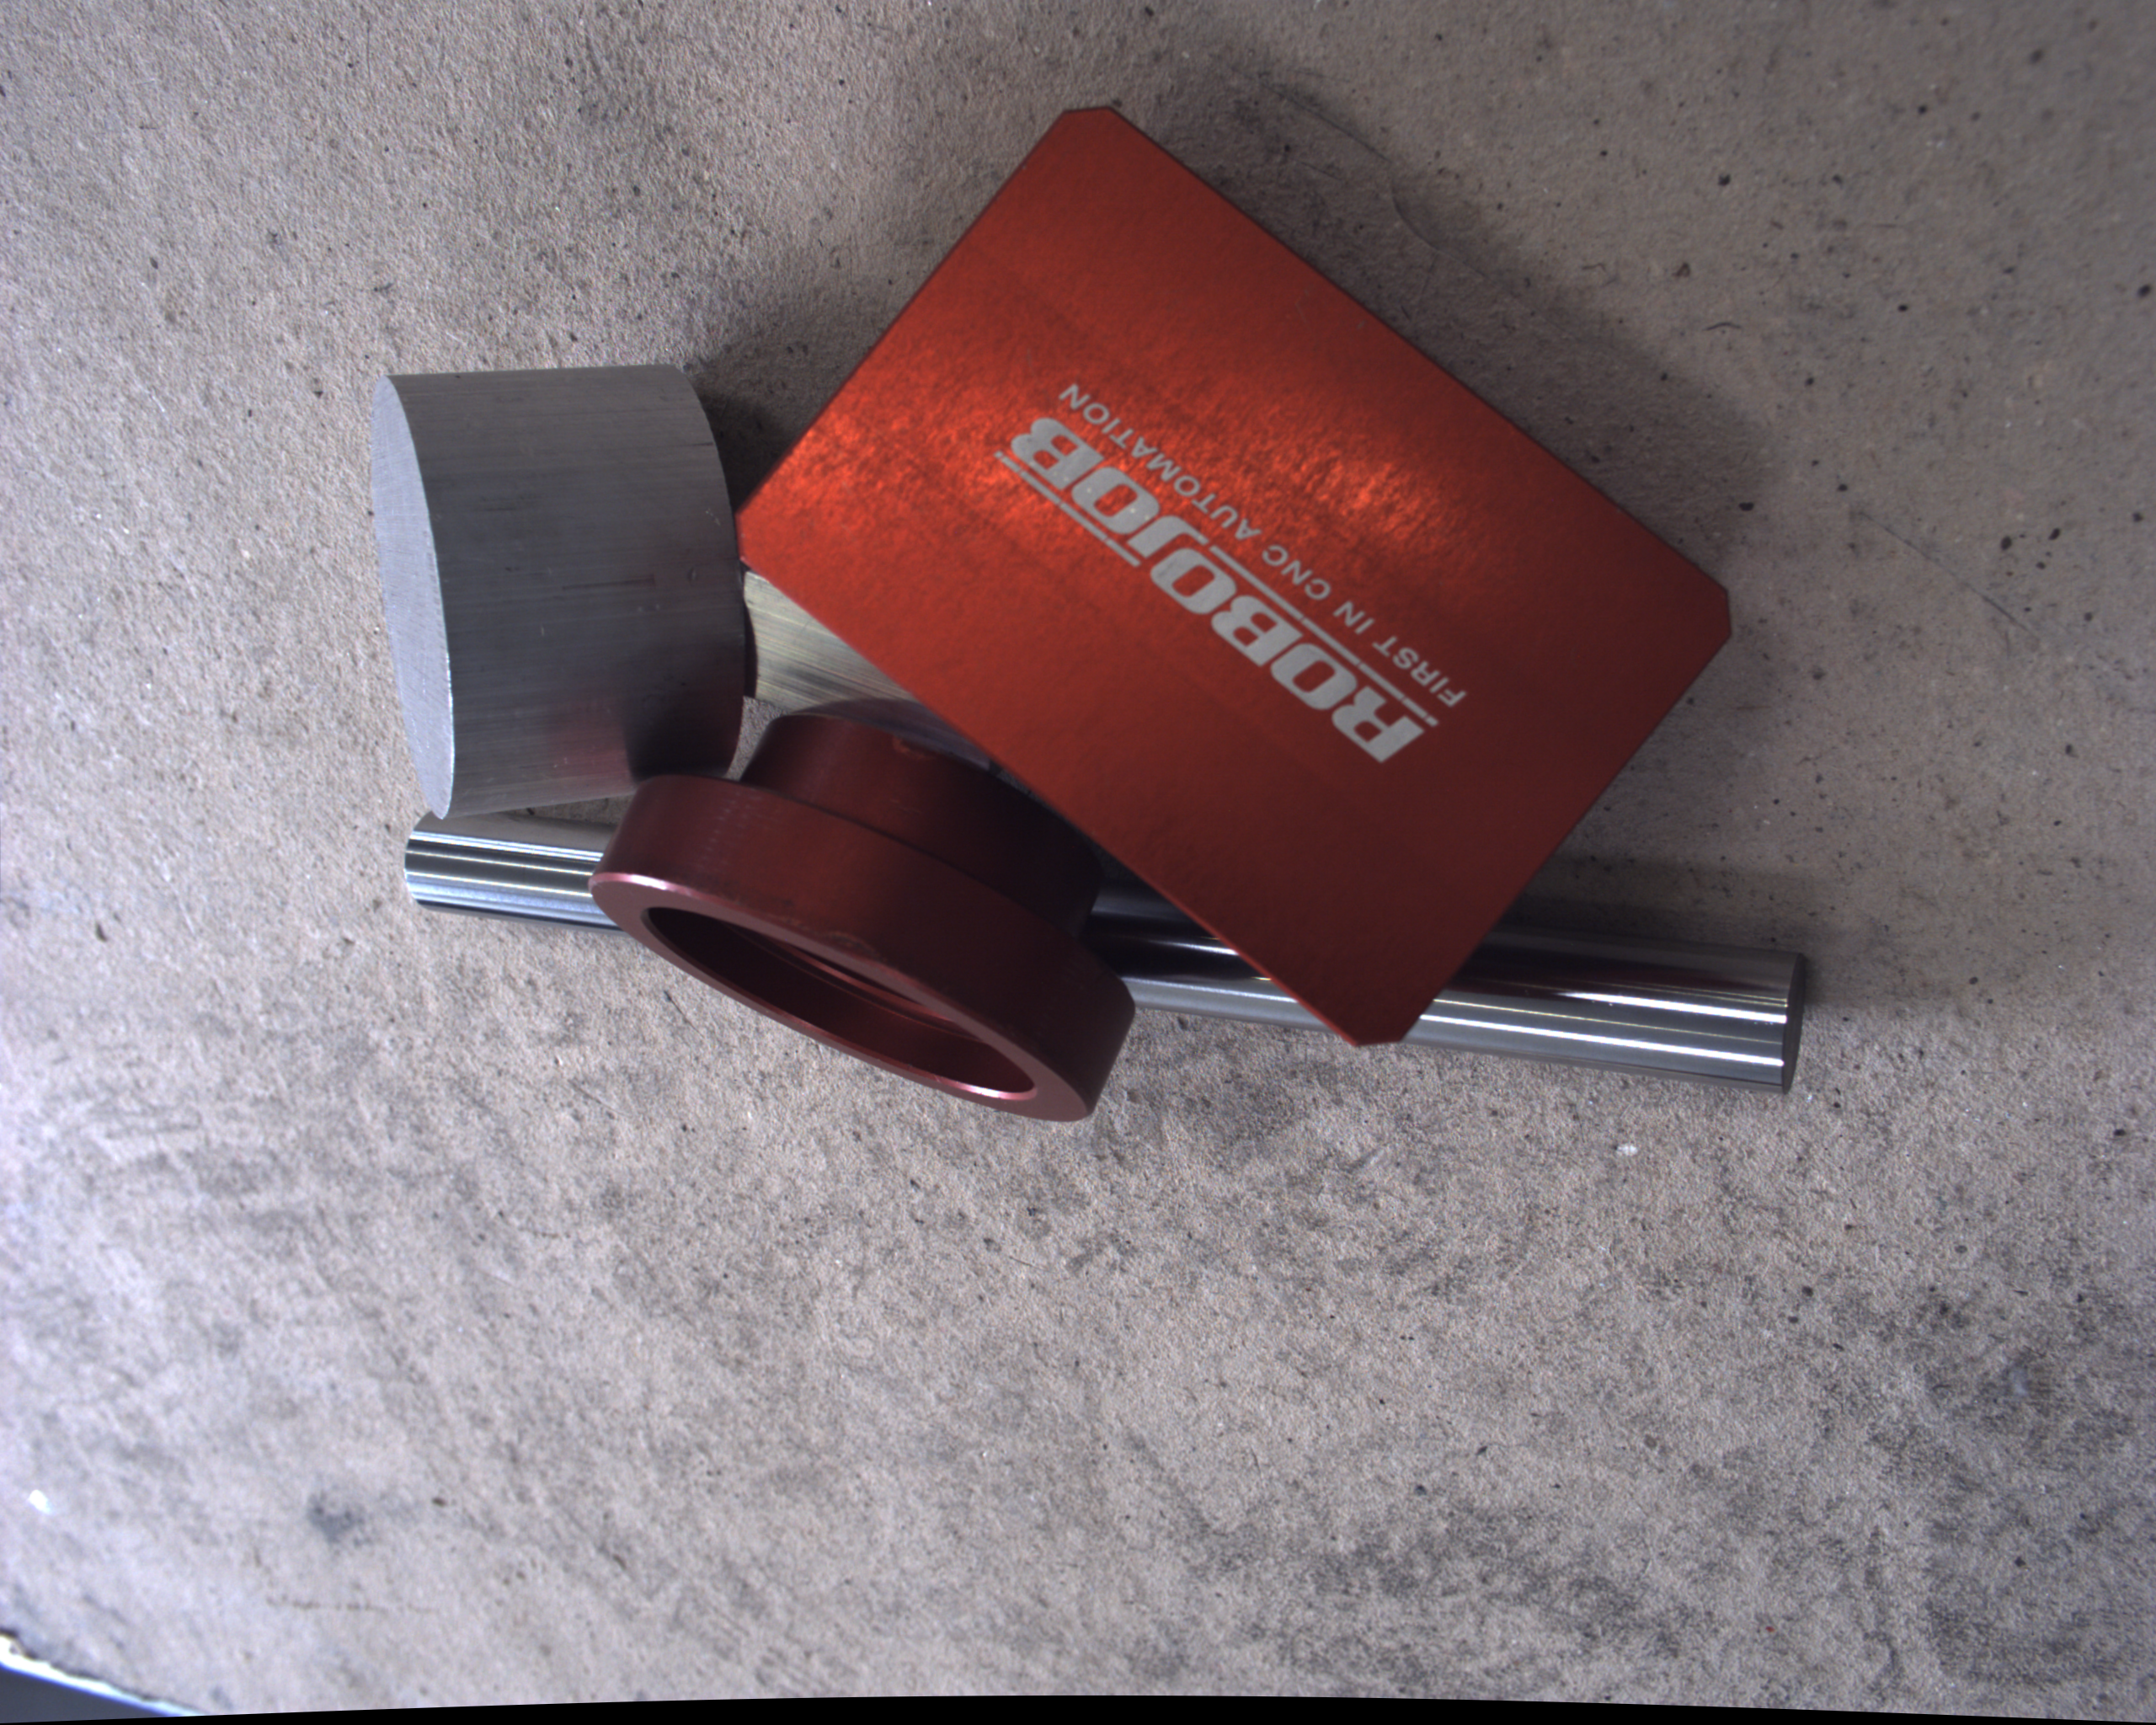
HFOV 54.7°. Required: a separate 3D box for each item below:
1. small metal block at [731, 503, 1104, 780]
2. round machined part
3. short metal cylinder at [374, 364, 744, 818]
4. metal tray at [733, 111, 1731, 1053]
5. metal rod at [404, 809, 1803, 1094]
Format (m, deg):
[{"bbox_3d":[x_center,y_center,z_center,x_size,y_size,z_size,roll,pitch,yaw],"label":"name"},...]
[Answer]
[{"bbox_3d":[-0.027,-0.042,0.378,0.050,0.050,0.025,22,127,15],"label":"small metal block"},{"bbox_3d":[-0.034,0.007,0.380,0.098,0.042,0.098,22,163,7],"label":"round machined part"},{"bbox_3d":[-0.098,-0.051,0.387,0.080,0.050,0.080,172,90,-66],"label":"short metal cylinder"},{"bbox_3d":[0.024,-0.043,0.333,0.130,0.030,0.090,39,90,1],"label":"metal tray"},{"bbox_3d":[-0.012,0.013,0.423,0.301,0.025,0.025,6,121,25],"label":"metal rod"}]
